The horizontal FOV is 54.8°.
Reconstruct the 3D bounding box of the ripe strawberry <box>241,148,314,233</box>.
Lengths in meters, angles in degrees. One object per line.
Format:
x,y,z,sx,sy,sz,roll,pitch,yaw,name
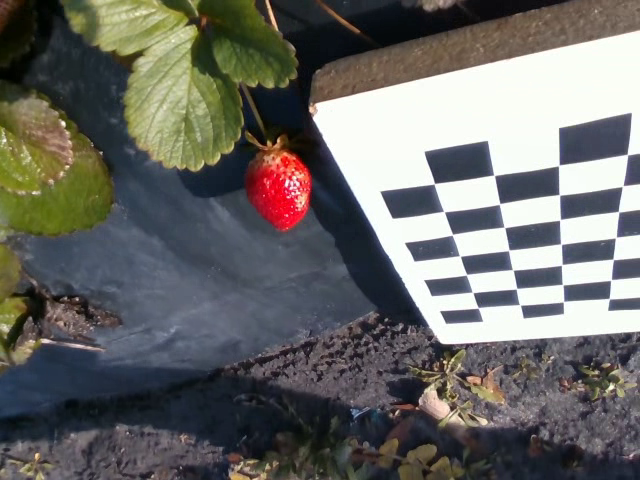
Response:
-0.015,-0.019,0.247,0.034,0.038,0.033,-8,8,20,ripe strawberry
